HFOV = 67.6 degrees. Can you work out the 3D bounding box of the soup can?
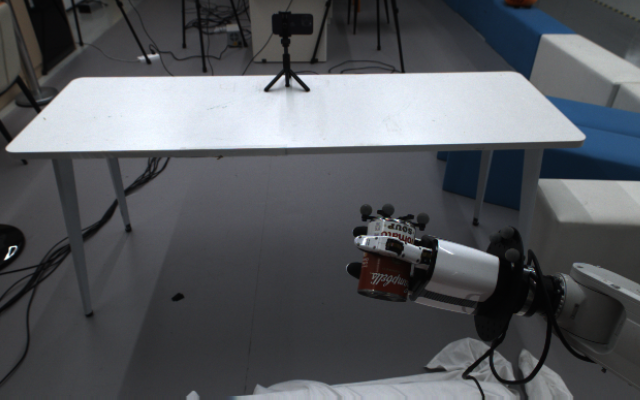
[{"bbox_3d":[0.093,0.081,0.658,0.067,0.067,0.101,8,71,9],"label":"soup can"}]
